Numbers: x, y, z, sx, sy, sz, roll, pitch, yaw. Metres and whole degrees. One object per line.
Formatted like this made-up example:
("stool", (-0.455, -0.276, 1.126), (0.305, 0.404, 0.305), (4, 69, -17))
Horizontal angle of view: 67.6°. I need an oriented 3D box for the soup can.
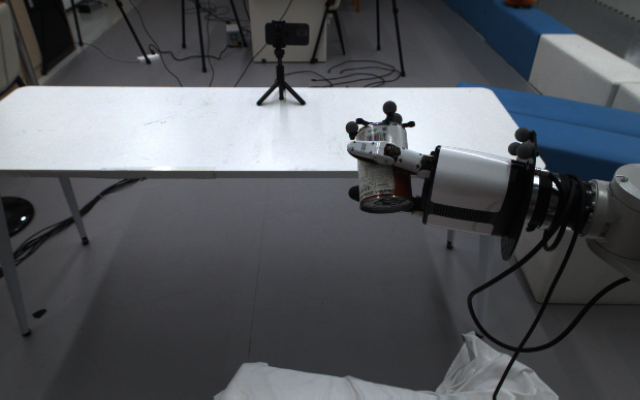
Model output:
("soup can", (0.081, -0.043, 0.621), (0.067, 0.067, 0.101), (-1, 72, -4))
